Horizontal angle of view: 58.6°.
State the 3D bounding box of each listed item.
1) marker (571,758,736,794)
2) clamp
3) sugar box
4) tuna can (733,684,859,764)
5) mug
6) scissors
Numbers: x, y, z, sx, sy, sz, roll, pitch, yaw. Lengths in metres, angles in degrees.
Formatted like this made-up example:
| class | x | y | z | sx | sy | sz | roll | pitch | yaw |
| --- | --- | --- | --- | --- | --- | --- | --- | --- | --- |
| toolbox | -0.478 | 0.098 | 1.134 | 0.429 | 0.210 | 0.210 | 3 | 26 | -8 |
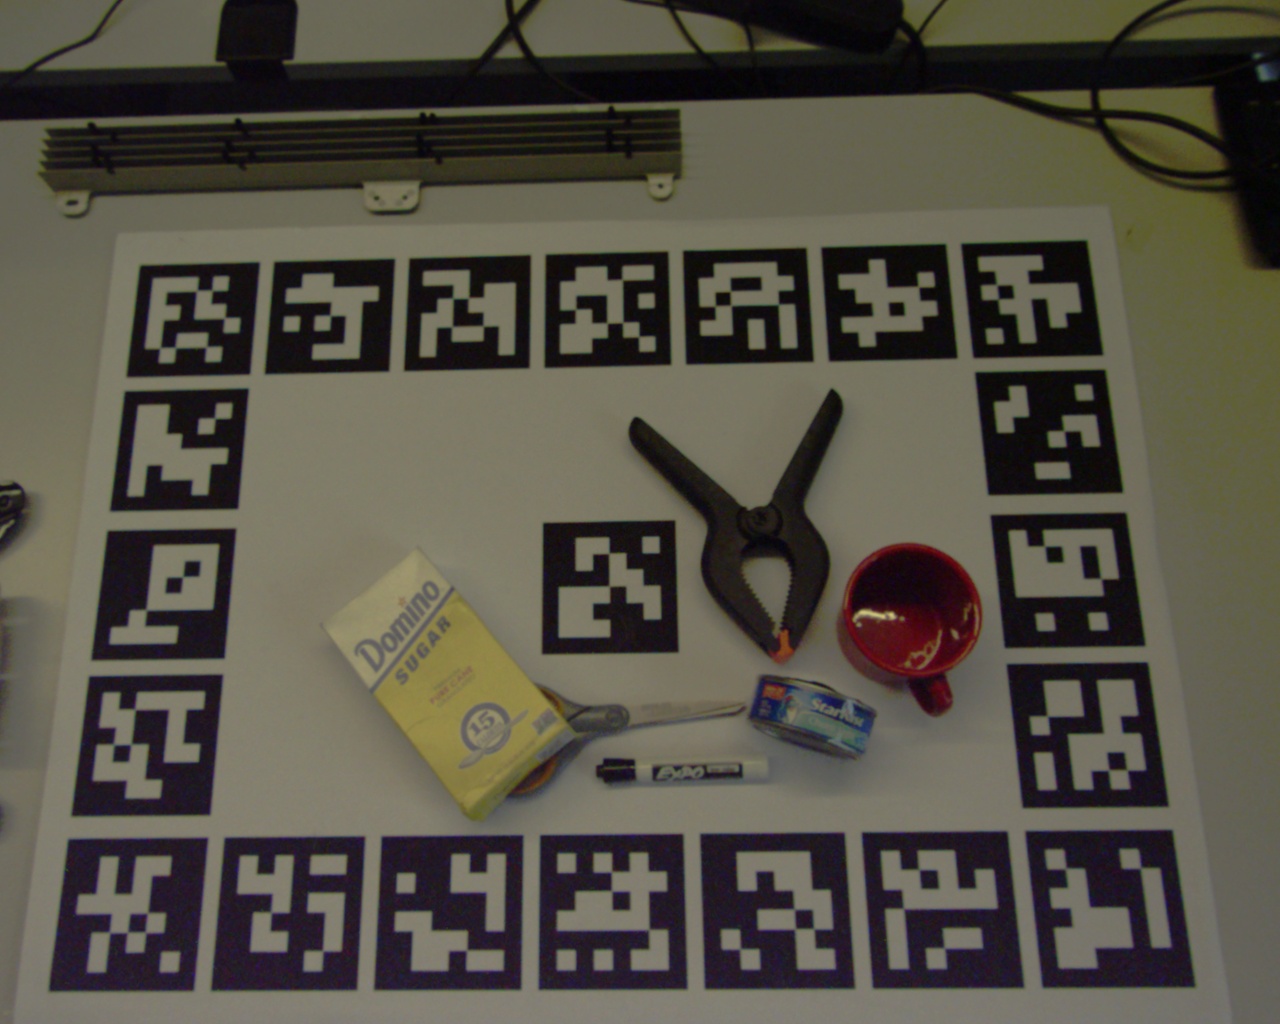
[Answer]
| class | x | y | z | sx | sy | sz | roll | pitch | yaw |
| --- | --- | --- | --- | --- | --- | --- | --- | --- | --- |
| marker | 0.010 | 0.195 | 0.842 | 0.121 | 0.019 | 0.020 | -4 | 75 | 1 |
| clamp | 0.079 | 0.022 | 0.890 | 0.165 | 0.036 | 0.203 | -11 | 75 | -2 |
| sugar box | -0.144 | 0.130 | 0.846 | 0.092 | 0.045 | 0.178 | -37 | 71 | -9 |
| tuna can | 0.111 | 0.152 | 0.817 | 0.086 | 0.085 | 0.034 | 16 | 75 | 5 |
| mug | 0.170 | 0.101 | 0.834 | 0.093 | 0.081 | 0.118 | -27 | 72 | -6 |
| scissors | -0.037 | 0.155 | 0.852 | 0.202 | 0.016 | 0.088 | -11 | 71 | -3 |
